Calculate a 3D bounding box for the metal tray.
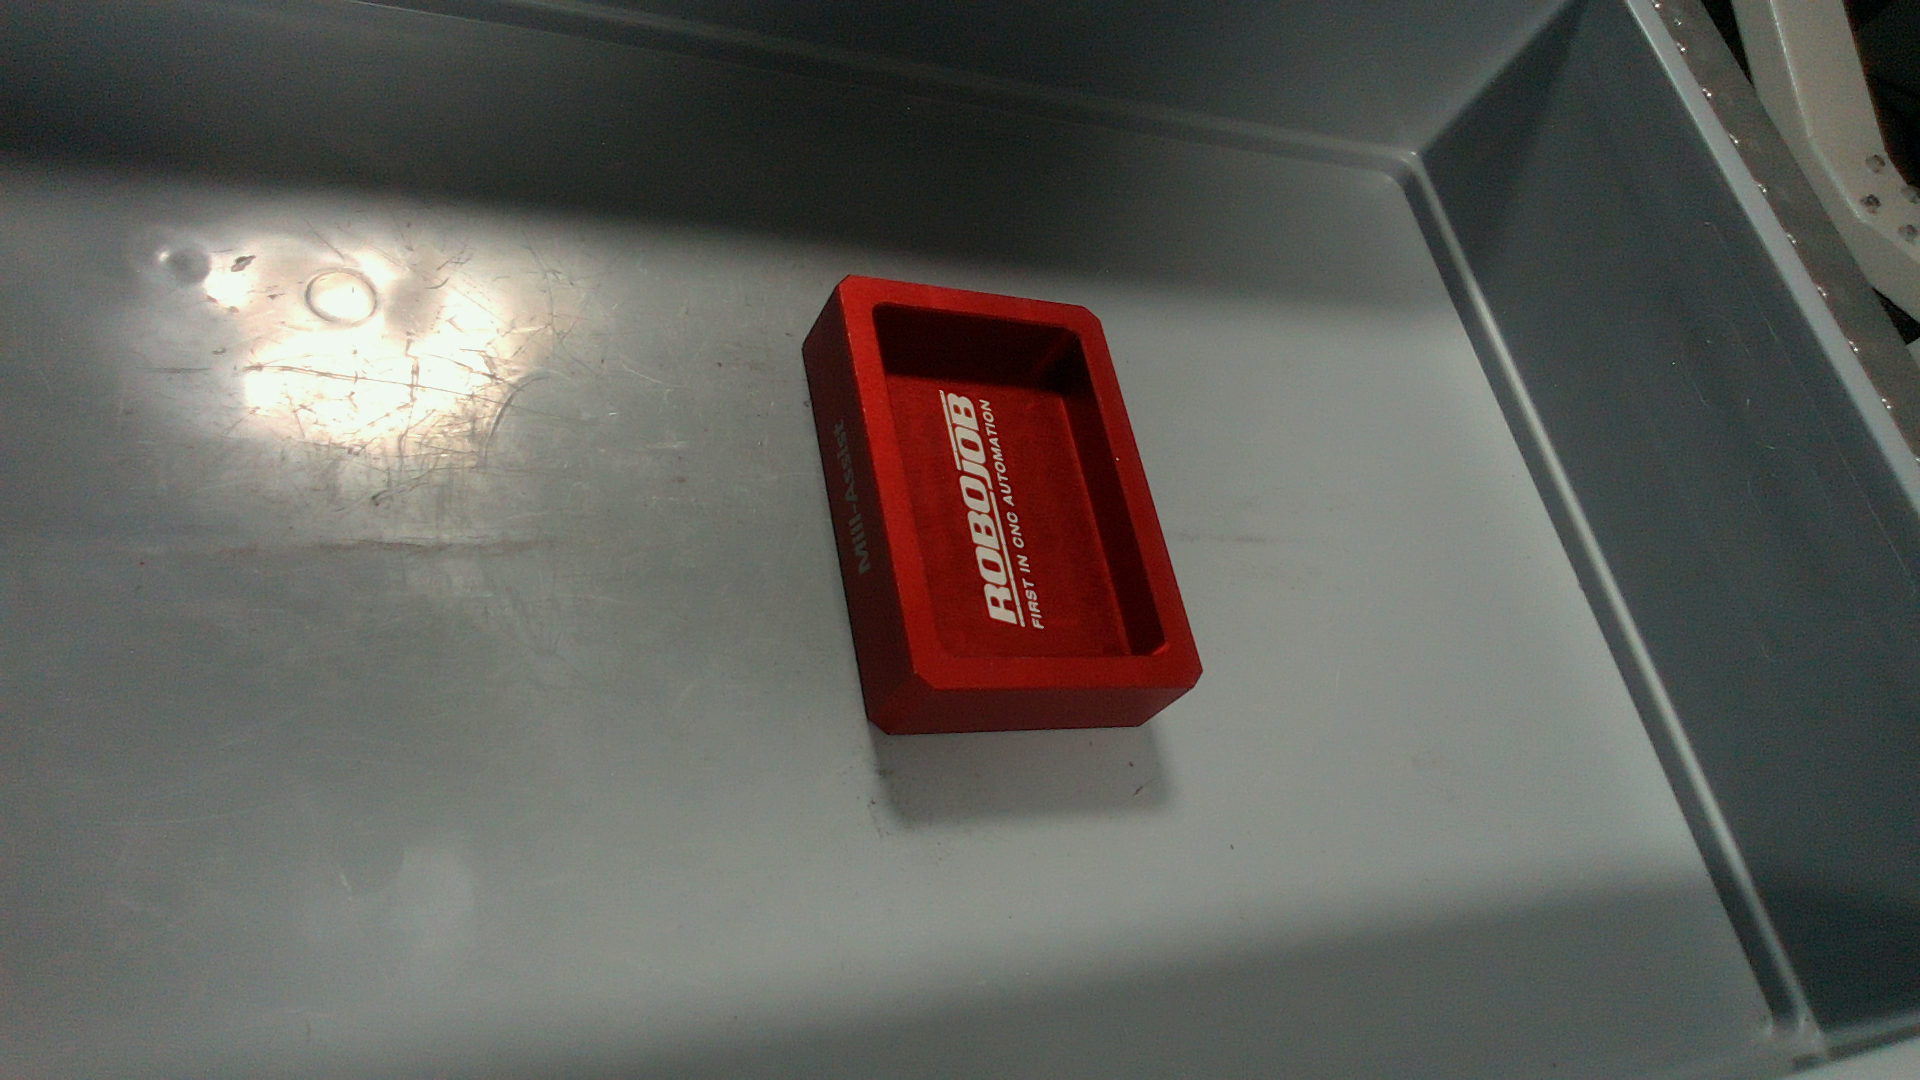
[{"bbox_3d":[0.010,-0.012,0.395,0.090,0.030,0.130,2,60,-28],"label":"metal tray"}]
